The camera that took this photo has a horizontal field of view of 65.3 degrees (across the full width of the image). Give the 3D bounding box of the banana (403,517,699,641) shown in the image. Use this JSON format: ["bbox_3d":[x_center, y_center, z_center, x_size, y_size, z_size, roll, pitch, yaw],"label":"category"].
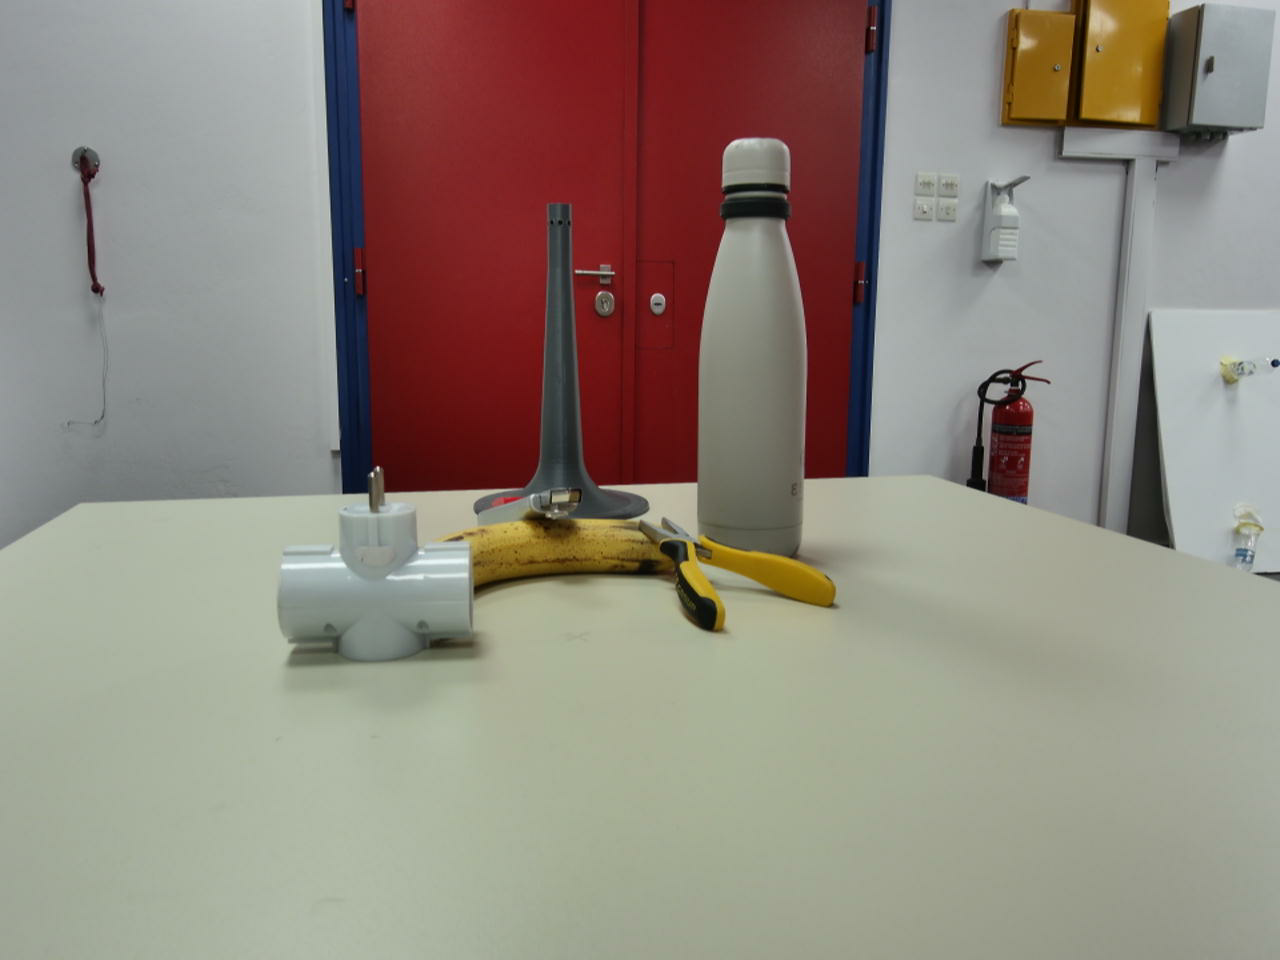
[{"bbox_3d":[-0.061,0.048,0.603,0.186,0.038,0.097,-6,10,-40],"label":"banana"}]
